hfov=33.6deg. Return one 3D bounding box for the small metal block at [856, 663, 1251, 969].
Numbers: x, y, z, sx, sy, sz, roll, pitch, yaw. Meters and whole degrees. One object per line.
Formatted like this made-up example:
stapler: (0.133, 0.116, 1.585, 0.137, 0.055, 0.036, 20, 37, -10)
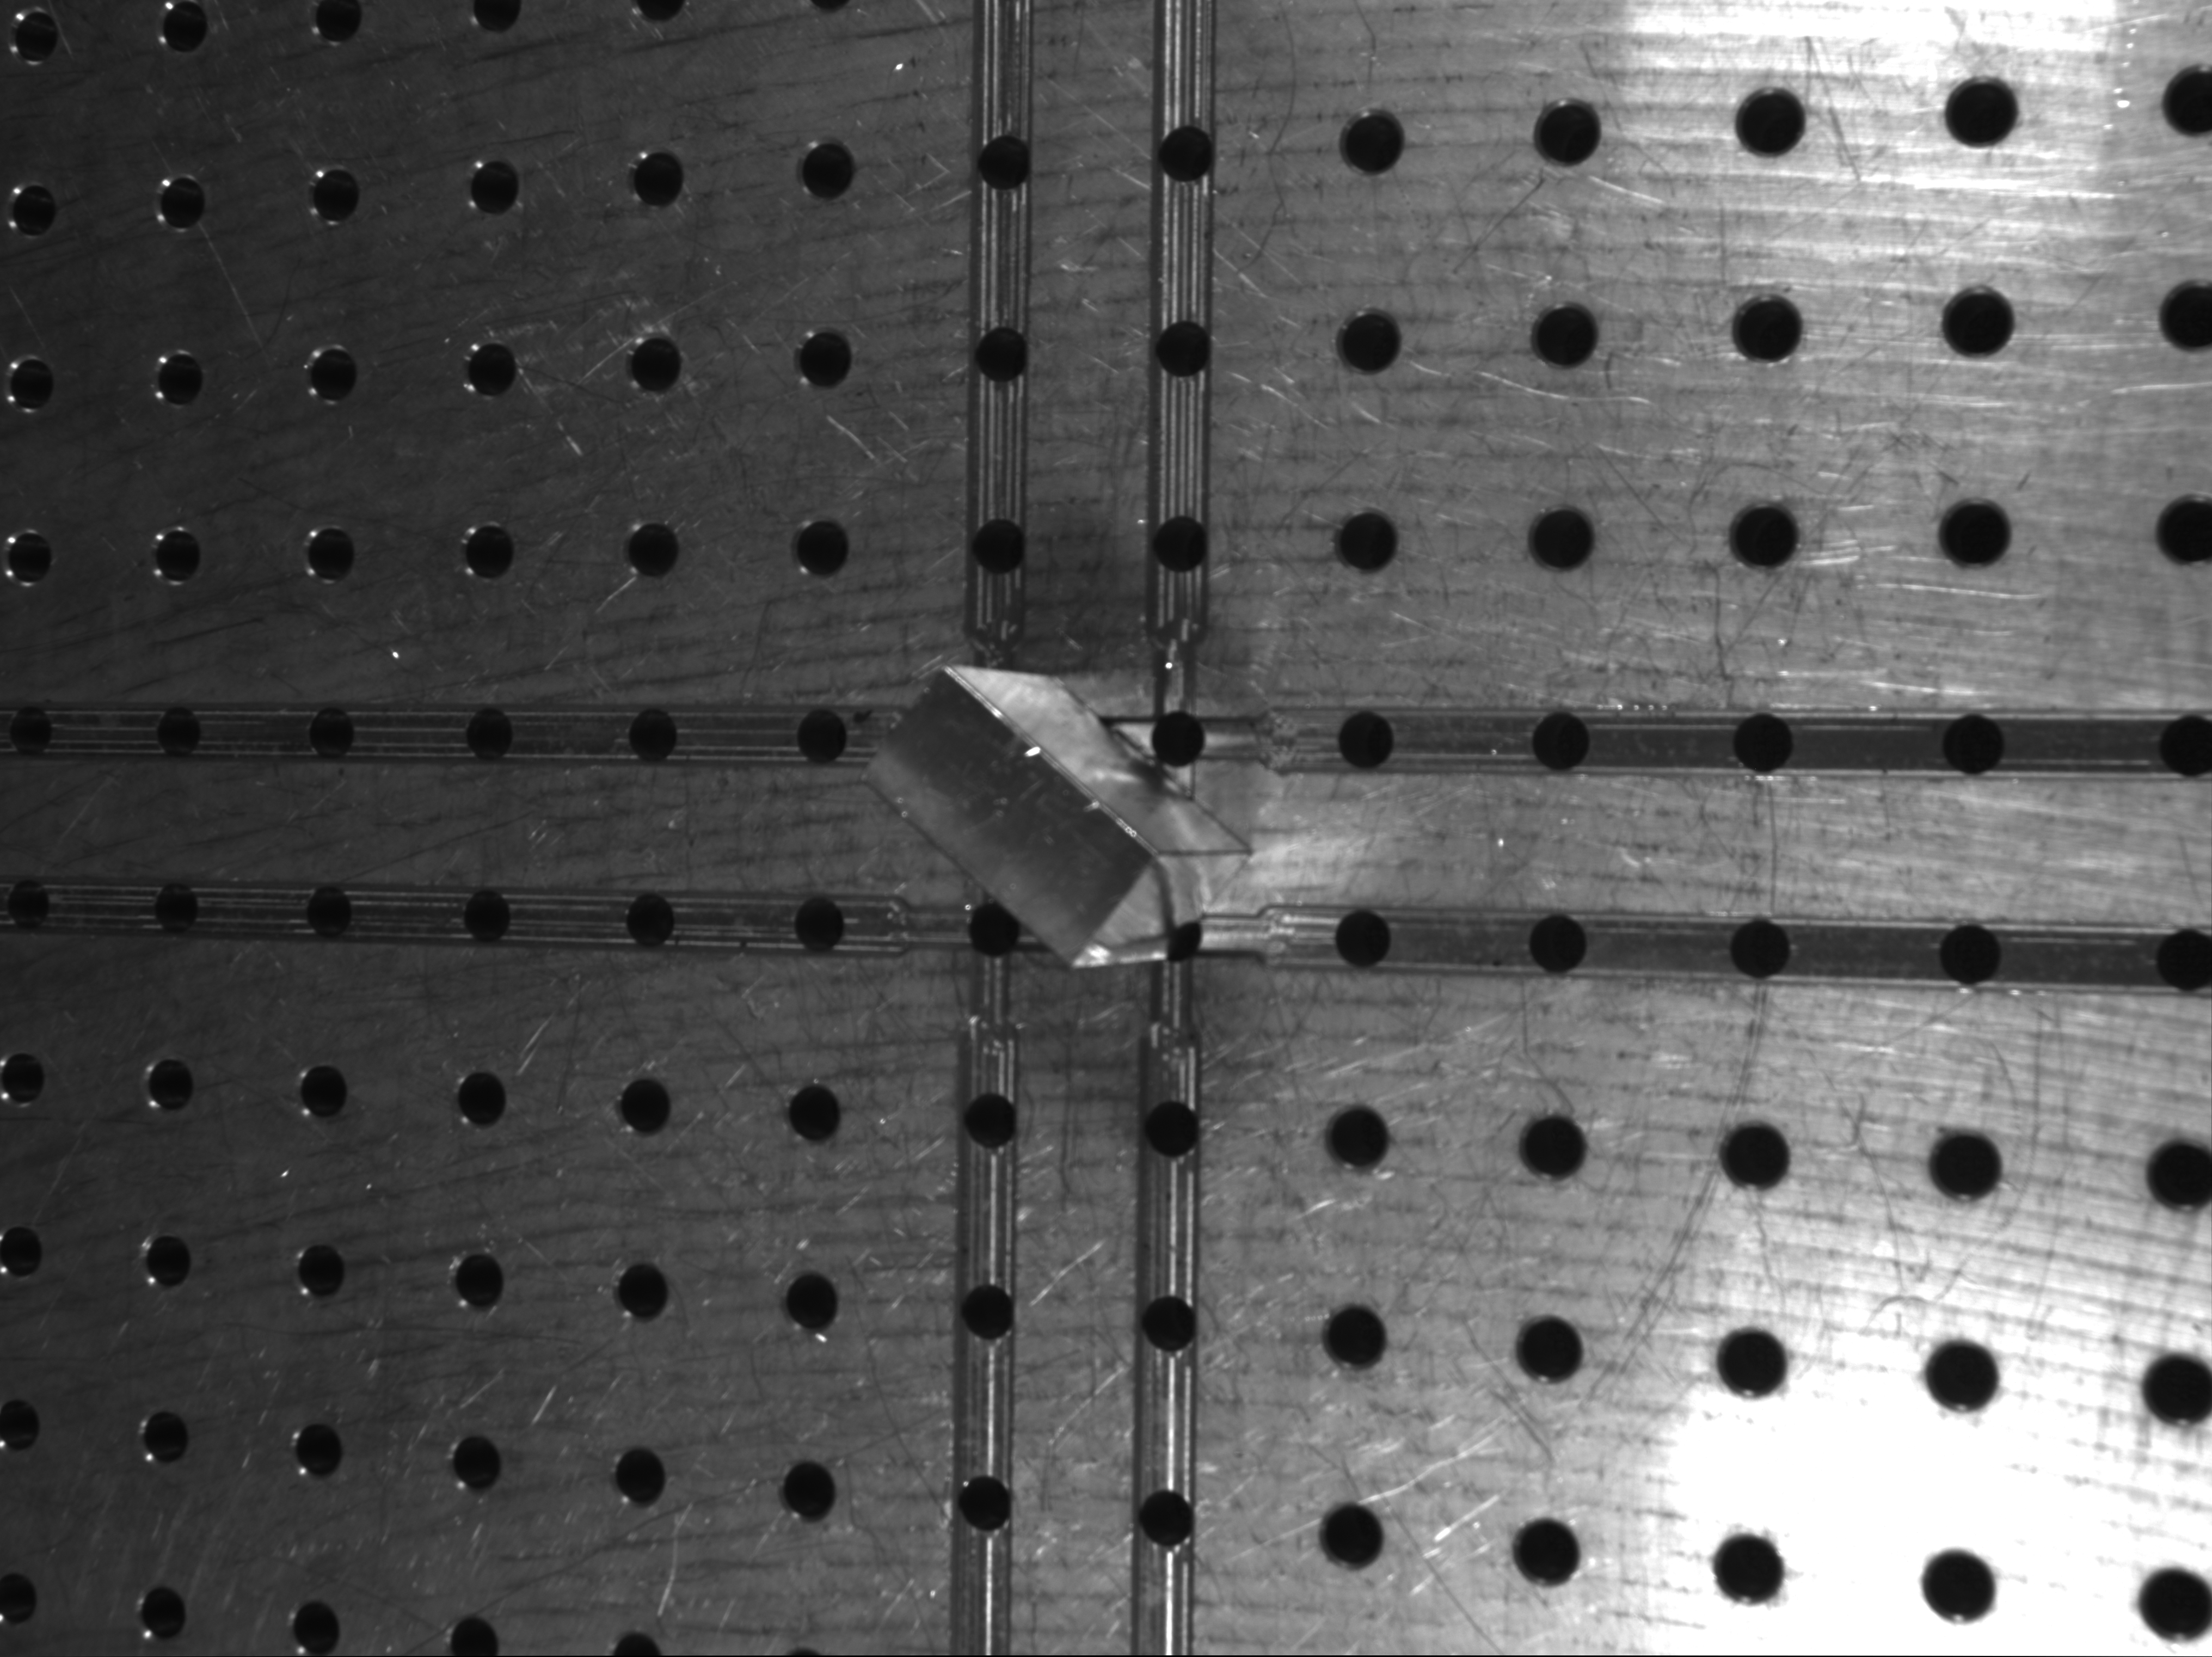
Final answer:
small metal block: (-0.008, -0.002, 0.636, 0.050, 0.050, 0.025, 42, 103, 15)
